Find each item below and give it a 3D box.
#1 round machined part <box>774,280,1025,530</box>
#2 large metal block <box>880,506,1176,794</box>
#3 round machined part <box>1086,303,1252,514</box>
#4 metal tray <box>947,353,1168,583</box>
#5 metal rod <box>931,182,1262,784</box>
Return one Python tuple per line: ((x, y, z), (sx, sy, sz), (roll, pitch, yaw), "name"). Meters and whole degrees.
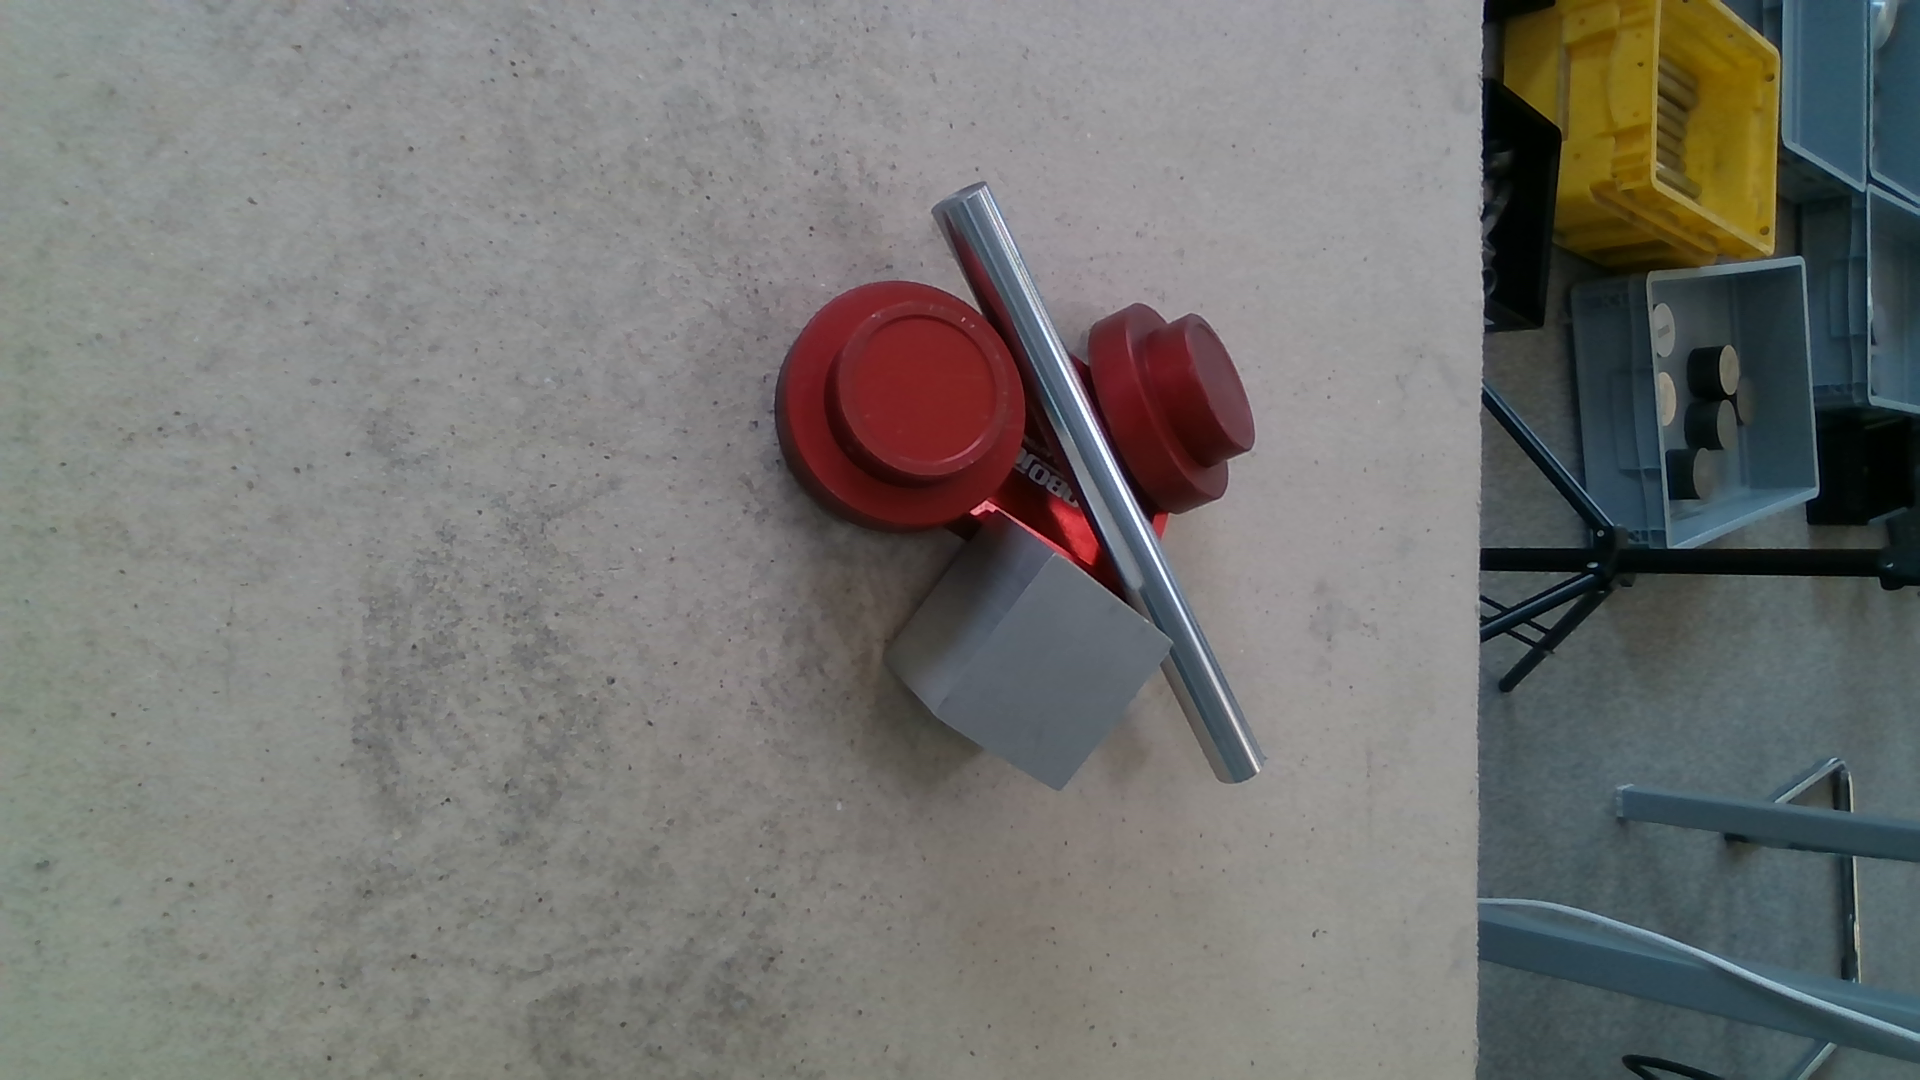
((-0.020, -0.053, 0.533), (0.098, 0.042, 0.098), (3, 82, -20), "round machined part")
((0.028, 0.046, 0.573), (0.080, 0.050, 0.080), (36, 92, -35), "large metal block")
((0.101, -0.065, 0.631), (0.098, 0.042, 0.098), (41, 37, -40), "round machined part")
((0.041, -0.032, 0.615), (0.130, 0.030, 0.090), (31, 71, -36), "metal tray")
((0.066, -0.014, 0.601), (0.025, 0.025, 0.301), (-43, 116, -32), "metal rod")
